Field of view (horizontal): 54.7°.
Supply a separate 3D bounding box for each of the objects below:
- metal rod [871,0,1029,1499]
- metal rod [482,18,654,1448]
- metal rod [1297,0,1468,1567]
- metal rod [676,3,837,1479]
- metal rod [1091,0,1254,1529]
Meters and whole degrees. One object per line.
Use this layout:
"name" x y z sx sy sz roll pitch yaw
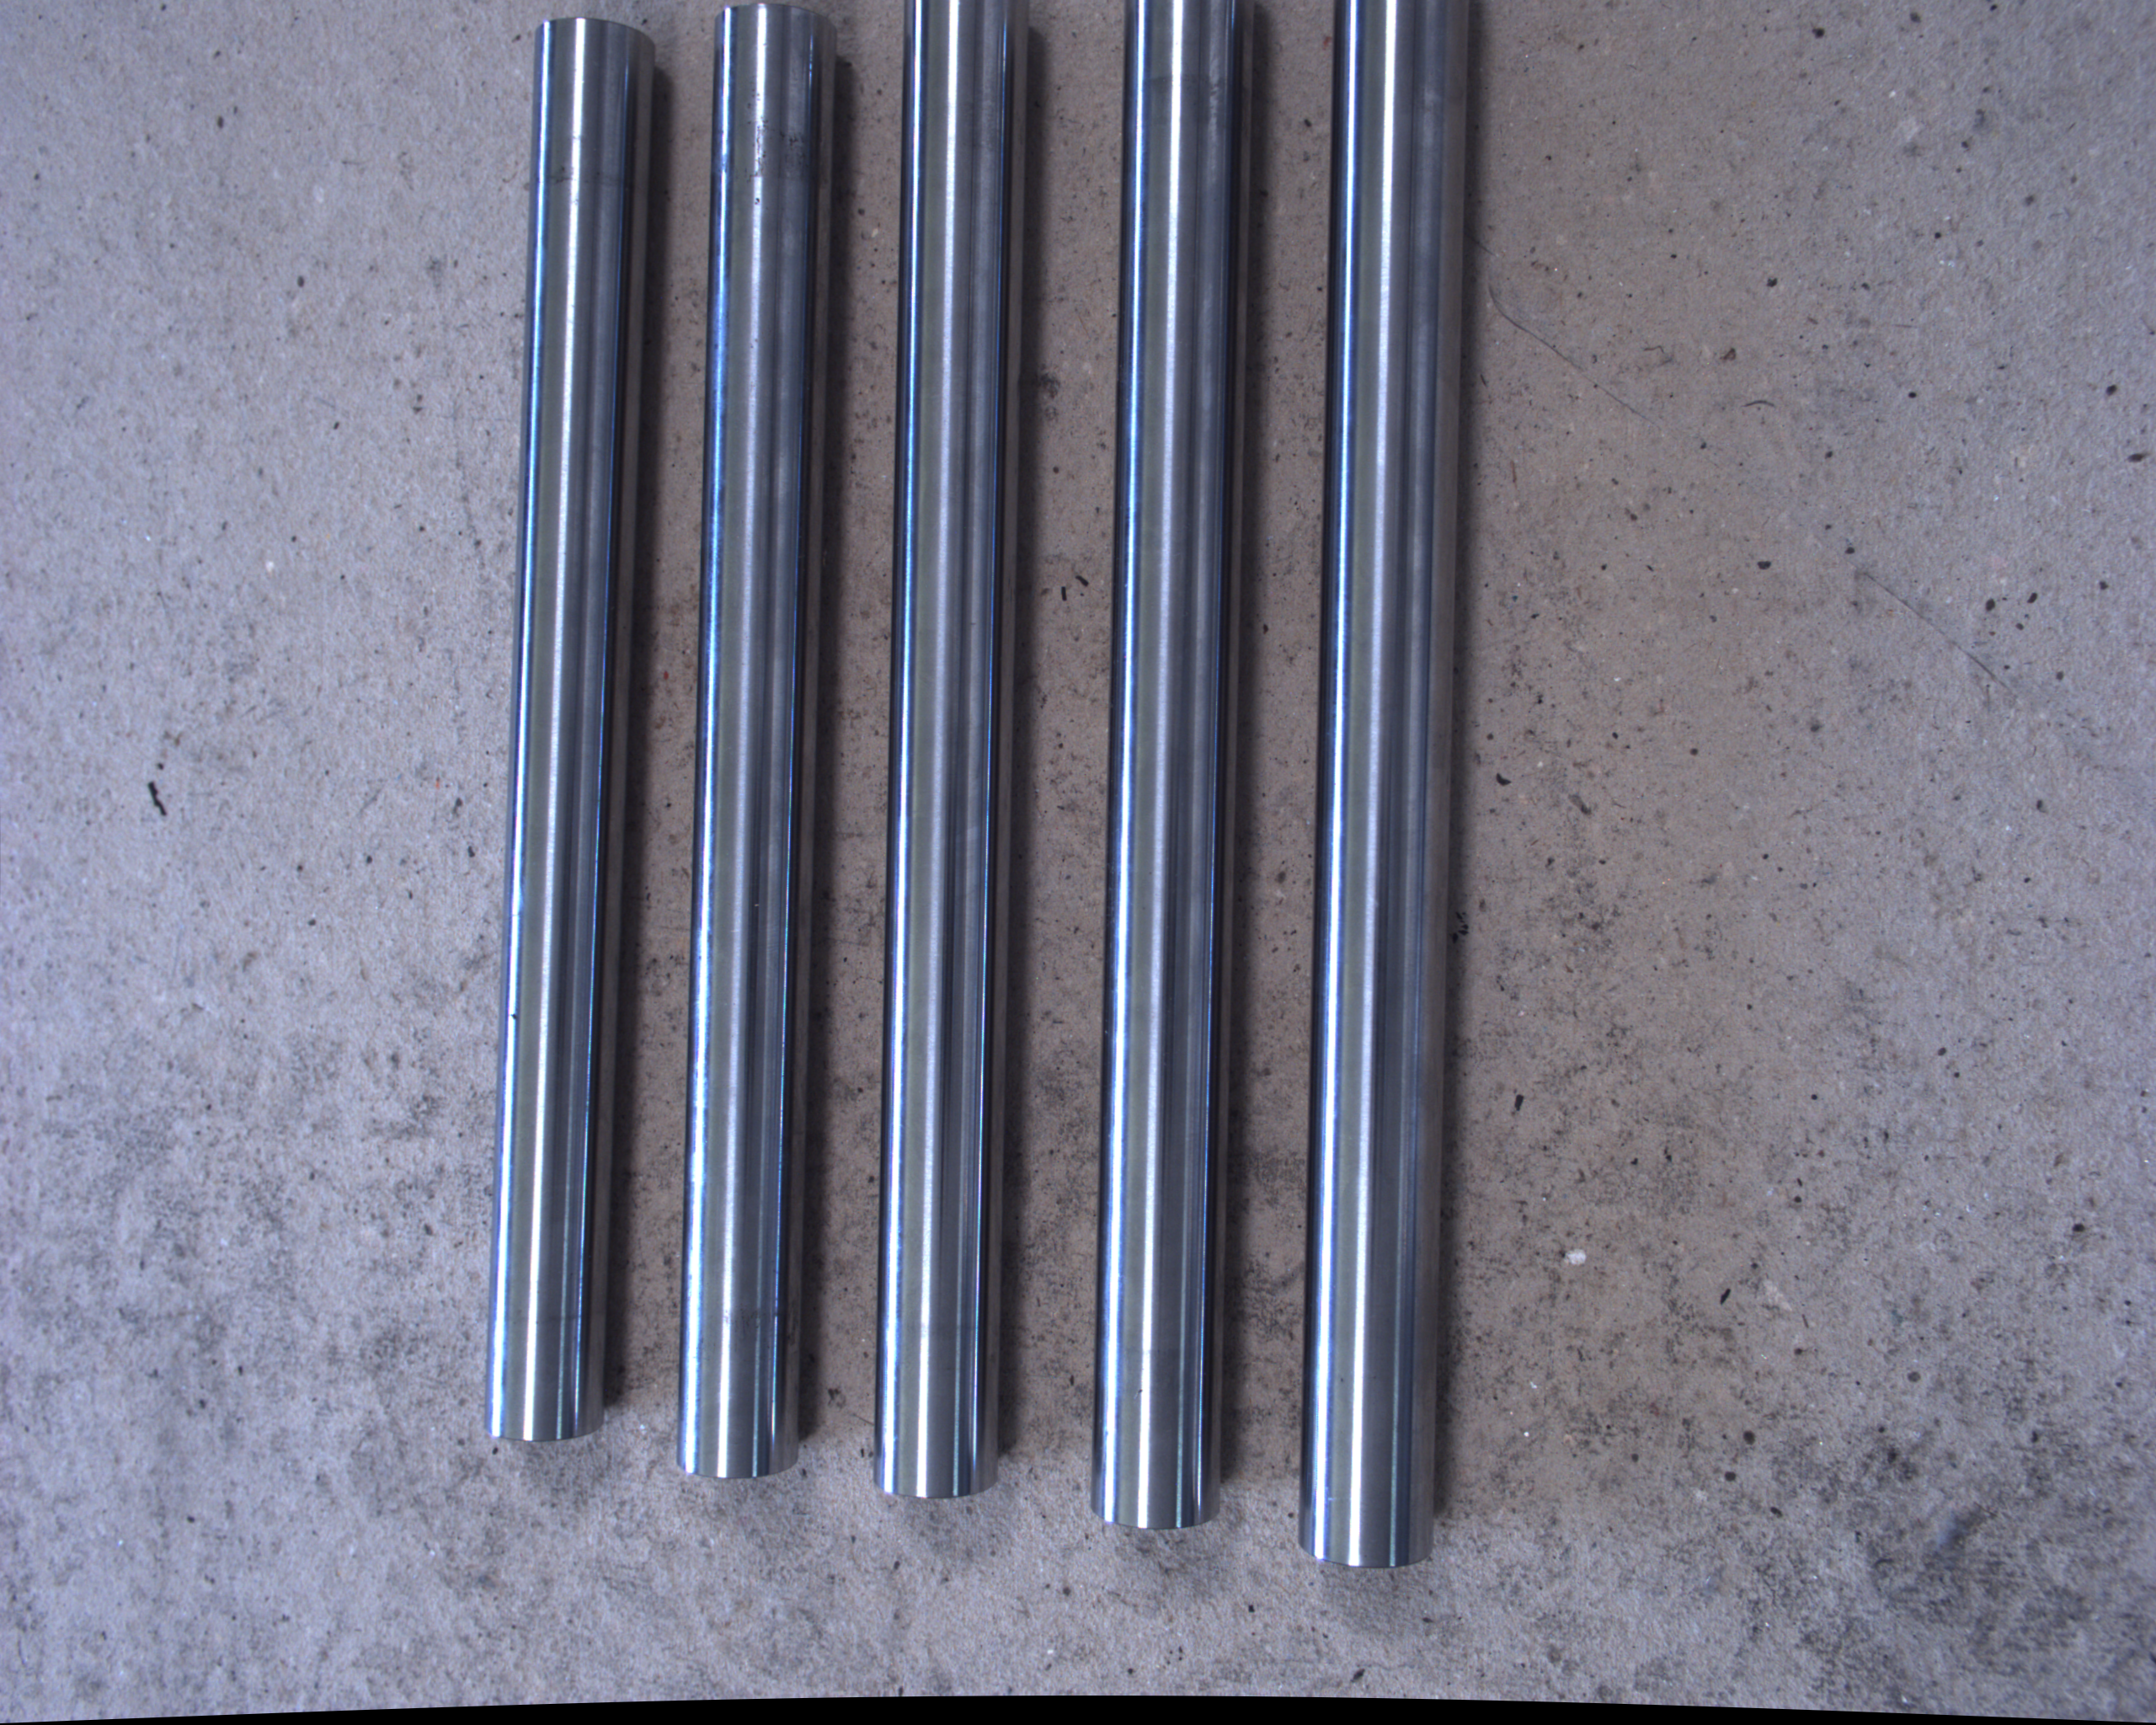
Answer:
"metal rod" -0.026 -0.025 0.419 0.025 0.025 0.298 1 90 20
"metal rod" -0.109 -0.027 0.447 0.025 0.025 0.298 3 91 20
"metal rod" 0.057 -0.021 0.390 0.025 0.025 0.298 1 90 20
"metal rod" -0.067 -0.024 0.434 0.025 0.025 0.298 2 90 20
"metal rod" 0.018 -0.024 0.403 0.025 0.025 0.298 1 90 20
